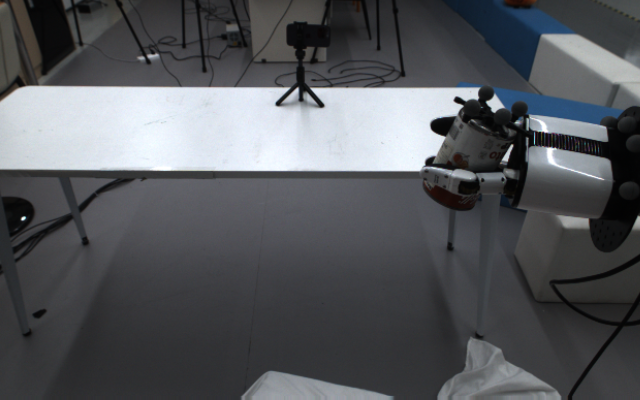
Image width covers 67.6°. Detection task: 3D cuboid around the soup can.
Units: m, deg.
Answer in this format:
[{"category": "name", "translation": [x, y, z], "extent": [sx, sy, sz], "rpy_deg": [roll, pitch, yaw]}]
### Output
[{"category": "soup can", "translation": [0.170, -0.048, 0.554], "extent": [0.067, 0.101, 0.067], "rpy_deg": [14, 35, -10]}]
